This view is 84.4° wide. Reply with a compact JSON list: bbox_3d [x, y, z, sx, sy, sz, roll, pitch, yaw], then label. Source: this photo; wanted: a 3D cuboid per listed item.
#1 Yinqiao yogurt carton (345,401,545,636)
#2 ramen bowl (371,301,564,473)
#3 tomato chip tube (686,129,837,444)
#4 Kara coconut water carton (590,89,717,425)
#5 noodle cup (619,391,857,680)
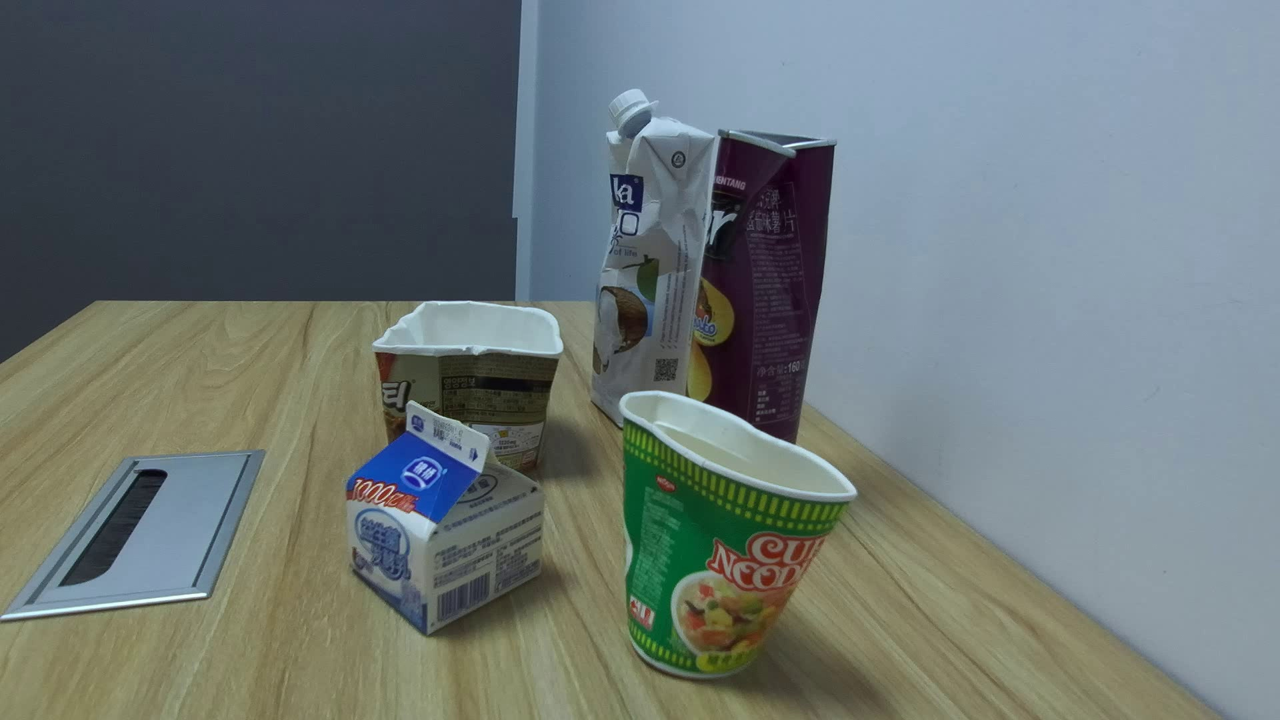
[{"bbox_3d":[-0.099,0.071,0.361,0.075,0.092,0.074,19,23,37],"label":"Yinqiao yogurt carton"},{"bbox_3d":[-0.122,0.015,0.506,0.114,0.097,0.133,-2,21,-15],"label":"ramen bowl"},{"bbox_3d":[0.071,-0.016,0.435,0.077,0.235,0.076,6,19,2],"label":"tomato chip tube"},{"bbox_3d":[0.007,-0.075,0.557,0.078,0.255,0.083,-1,19,-14],"label":"Kara coconut water carton"},{"bbox_3d":[0.031,0.083,0.333,0.070,0.111,0.114,-2,20,-22],"label":"noodle cup"}]
